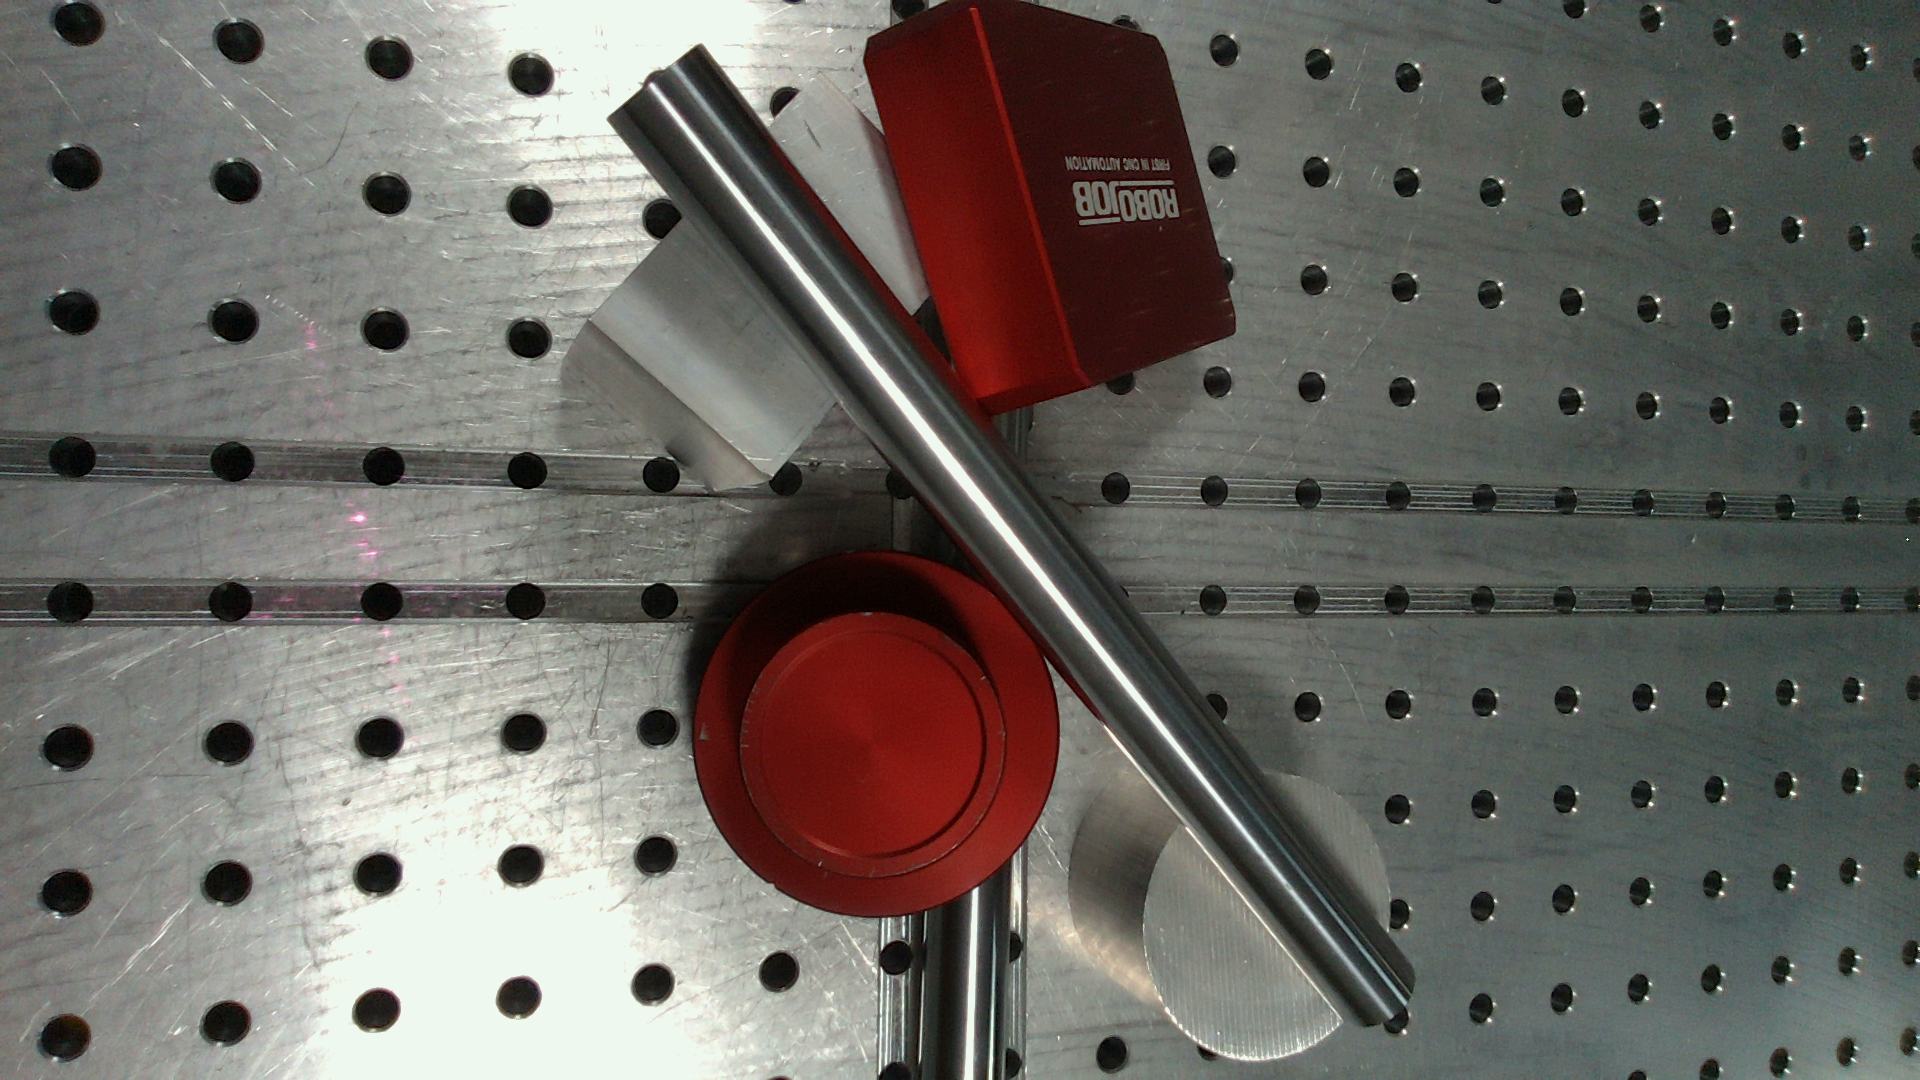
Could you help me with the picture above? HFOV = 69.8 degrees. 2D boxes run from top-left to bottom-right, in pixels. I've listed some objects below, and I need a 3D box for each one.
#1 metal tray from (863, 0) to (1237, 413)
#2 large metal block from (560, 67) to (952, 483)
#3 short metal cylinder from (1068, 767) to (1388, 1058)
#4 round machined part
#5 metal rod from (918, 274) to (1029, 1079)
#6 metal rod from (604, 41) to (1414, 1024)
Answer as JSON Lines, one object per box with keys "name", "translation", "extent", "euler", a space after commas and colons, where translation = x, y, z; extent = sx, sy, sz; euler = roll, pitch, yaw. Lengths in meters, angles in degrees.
{"name": "metal tray", "translation": [0.031, -0.088, 0.363], "extent": [0.130, 0.030, 0.090], "euler": [-27, 101, -60]}
{"name": "large metal block", "translation": [-0.052, -0.061, 0.349], "extent": [0.050, 0.080, 0.080], "euler": [43, 77, -15]}
{"name": "short metal cylinder", "translation": [0.079, 0.106, 0.412], "extent": [0.080, 0.050, 0.080], "euler": [0, 90, -20]}
{"name": "round machined part", "translation": [-0.021, 0.052, 0.363], "extent": [0.098, 0.042, 0.098], "euler": [0, 90, -3]}
{"name": "metal rod", "translation": [0.005, 0.023, 0.398], "extent": [0.025, 0.025, 0.300], "euler": [2, 89, -20]}
{"name": "metal rod", "translation": [0.027, 0.016, 0.331], "extent": [0.025, 0.025, 0.301], "euler": [-45, 112, -14]}
